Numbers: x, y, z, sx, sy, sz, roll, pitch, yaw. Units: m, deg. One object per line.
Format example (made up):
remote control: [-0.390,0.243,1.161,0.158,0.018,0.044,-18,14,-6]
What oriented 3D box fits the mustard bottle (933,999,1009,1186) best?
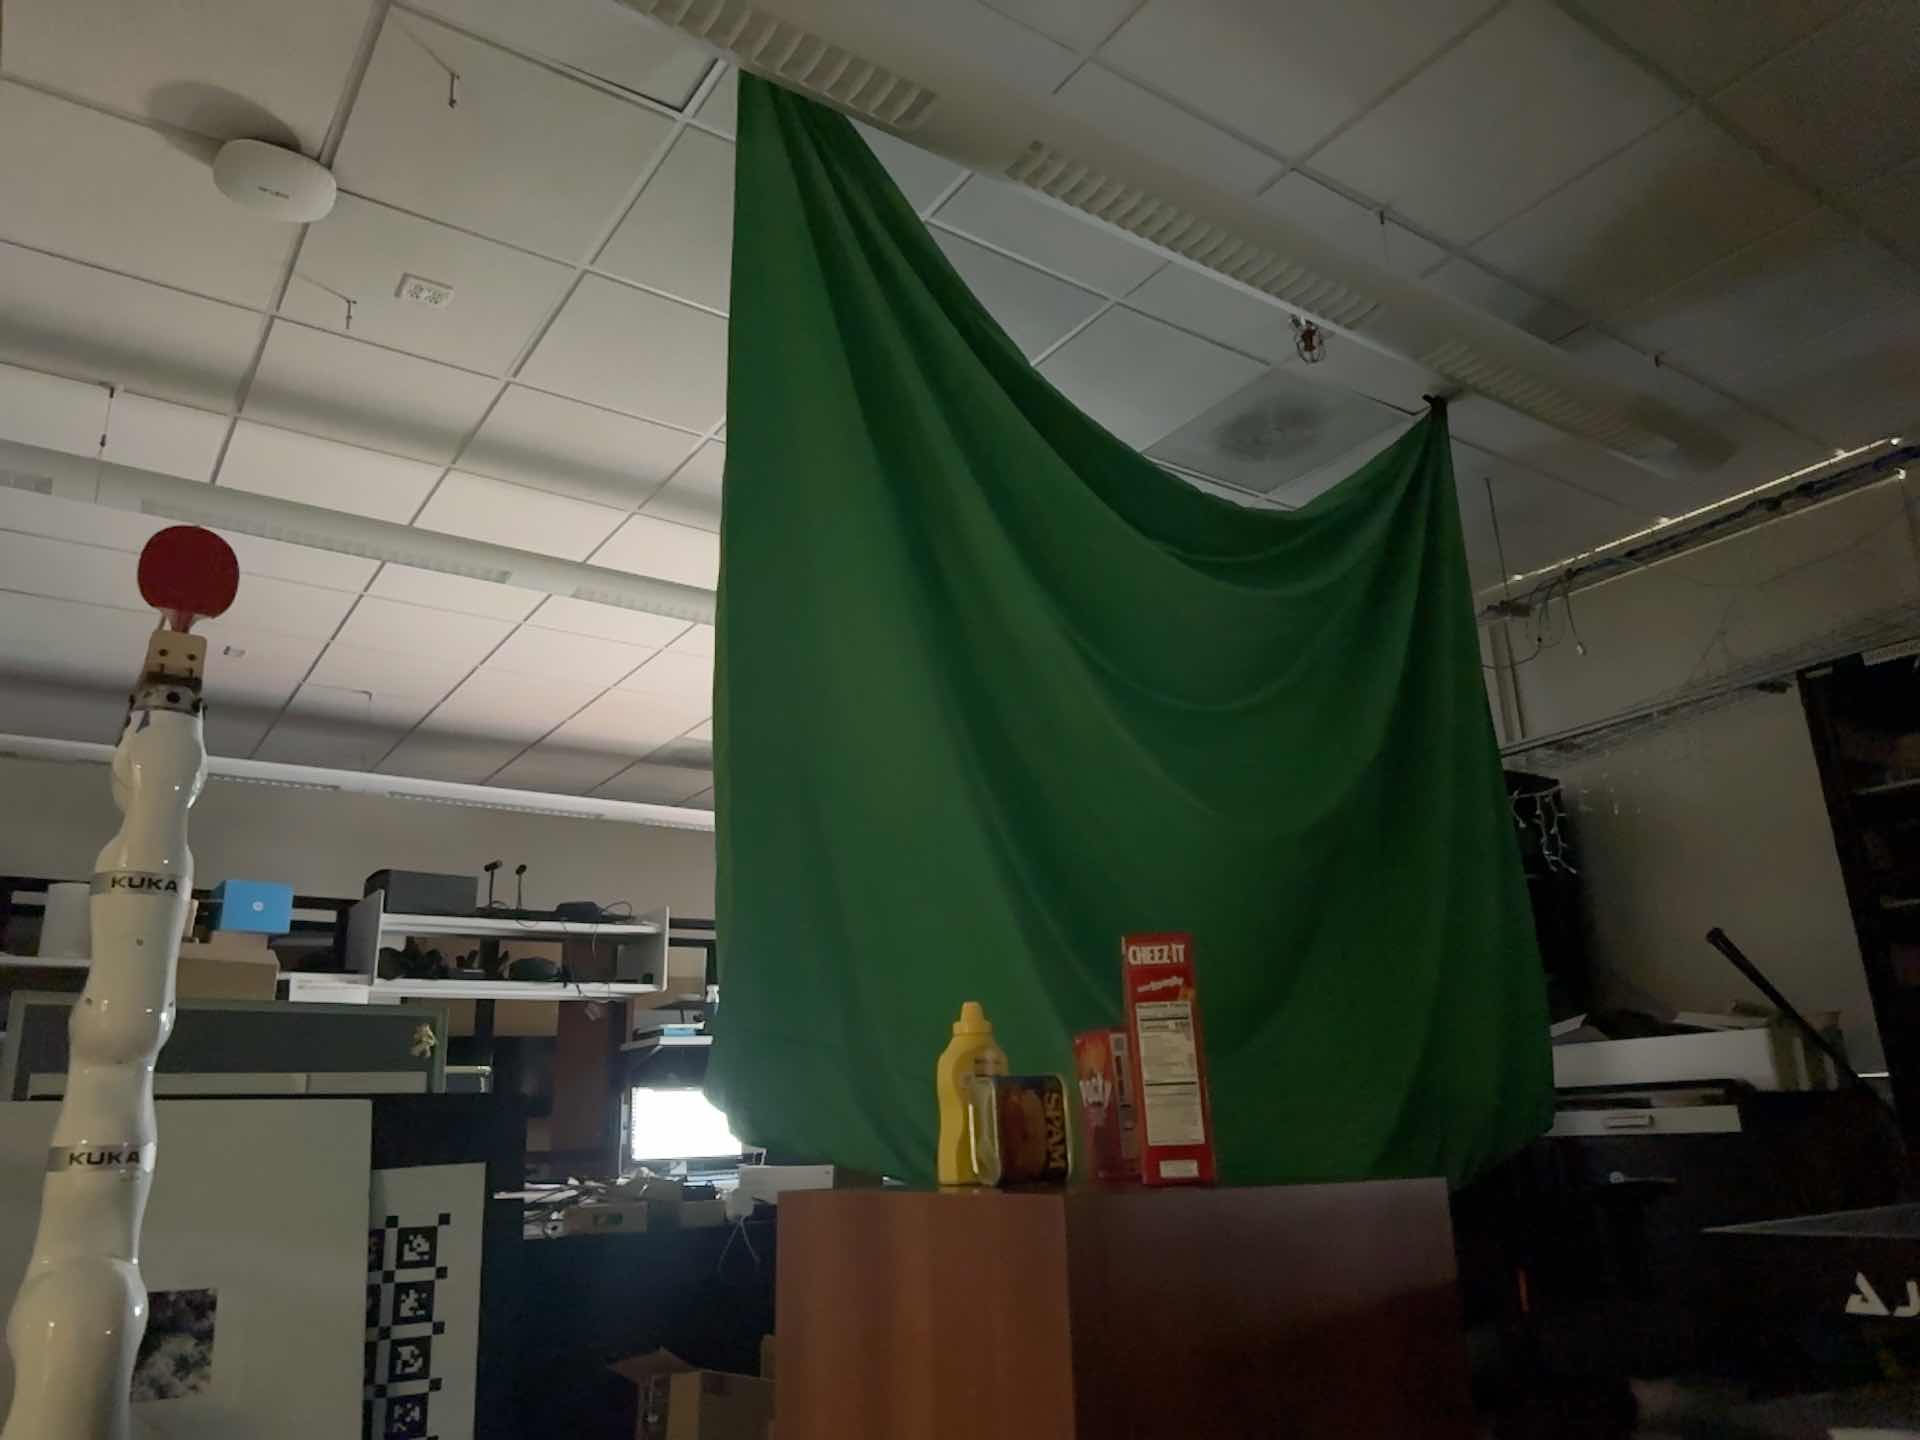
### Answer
mustard bottle: [0.013,0.382,1.390,0.092,0.184,0.054,10,-21,-34]

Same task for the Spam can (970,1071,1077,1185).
Spam can: [0.058,0.390,1.288,0.083,0.100,0.056,6,-18,-28]

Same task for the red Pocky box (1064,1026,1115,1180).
red Pocky box: [0.142,0.403,1.422,0.028,0.155,0.083,5,-18,-20]

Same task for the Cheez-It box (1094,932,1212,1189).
Cheez-It box: [0.176,0.320,1.269,0.062,0.214,0.159,-1,-15,-4]
